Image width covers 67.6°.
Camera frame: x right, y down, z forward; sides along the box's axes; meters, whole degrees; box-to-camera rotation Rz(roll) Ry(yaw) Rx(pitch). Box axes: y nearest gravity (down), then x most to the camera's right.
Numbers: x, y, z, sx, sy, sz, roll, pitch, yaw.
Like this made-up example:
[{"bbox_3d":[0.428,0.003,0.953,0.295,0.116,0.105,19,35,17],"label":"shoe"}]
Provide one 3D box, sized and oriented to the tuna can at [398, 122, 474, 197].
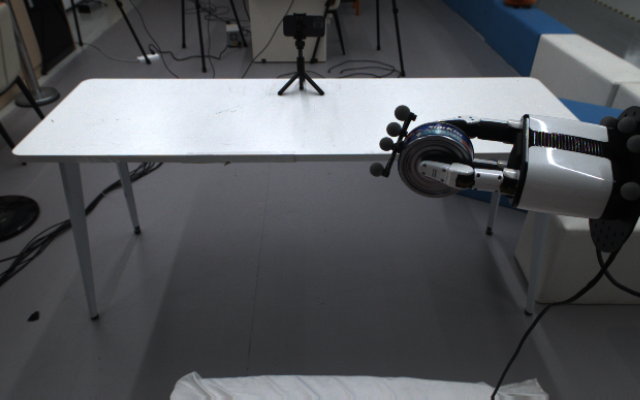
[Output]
[{"bbox_3d":[0.137,-0.048,0.567,0.085,0.085,0.034,9,35,9],"label":"tuna can"}]
